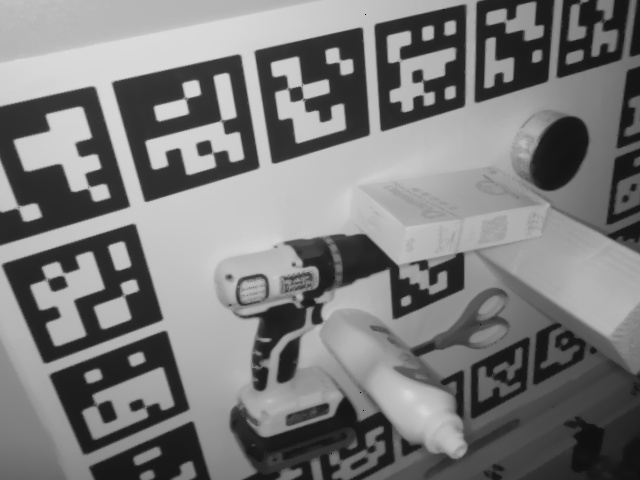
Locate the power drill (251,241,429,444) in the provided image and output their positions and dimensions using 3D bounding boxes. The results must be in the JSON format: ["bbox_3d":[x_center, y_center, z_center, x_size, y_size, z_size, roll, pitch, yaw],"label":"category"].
[{"bbox_3d":[0.023,0.094,0.679,0.187,0.057,0.186,-7,107,-26],"label":"power drill"}]

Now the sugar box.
[{"bbox_3d":[0.146,-0.020,0.675,0.179,0.092,0.045,-7,118,-23],"label":"sugar box"}]

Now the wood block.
[{"bbox_3d":[0.292,0.046,0.723,0.091,0.205,0.090,-44,123,-3],"label":"wood block"}]

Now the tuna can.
[{"bbox_3d":[0.283,-0.089,0.748,0.087,0.033,0.085,-11,115,-23],"label":"tuna can"}]

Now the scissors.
[{"bbox_3d":[0.198,0.126,0.811,0.205,0.016,0.087,-17,122,-21],"label":"scissors"}]

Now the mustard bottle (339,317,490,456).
[{"bbox_3d":[0.098,0.146,0.670,0.097,0.190,0.058,34,93,-33],"label":"mustard bottle"}]
